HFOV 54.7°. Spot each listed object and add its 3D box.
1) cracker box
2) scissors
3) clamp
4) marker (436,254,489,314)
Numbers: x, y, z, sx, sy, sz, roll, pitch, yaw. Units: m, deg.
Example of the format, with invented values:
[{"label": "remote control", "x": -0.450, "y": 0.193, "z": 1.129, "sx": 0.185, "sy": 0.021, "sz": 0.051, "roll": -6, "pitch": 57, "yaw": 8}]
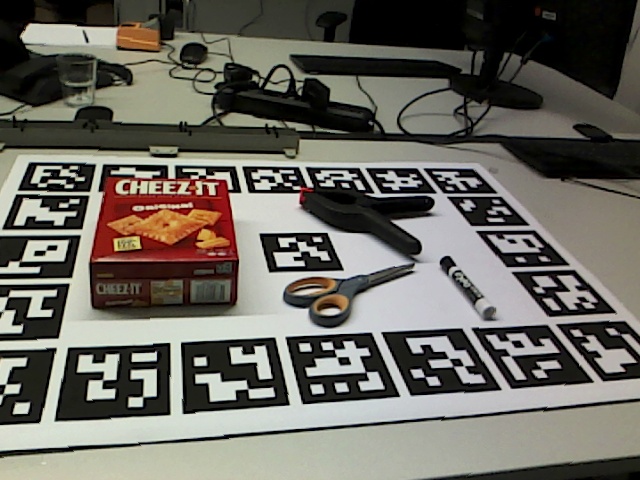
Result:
[{"label": "cracker box", "x": -0.194, "y": -0.004, "z": 0.796, "sx": 0.164, "sy": 0.072, "sz": 0.214, "roll": 0, "pitch": 31, "yaw": -12}, {"label": "scissors", "x": 0.046, "y": 0.055, "z": 0.792, "sx": 0.201, "sy": 0.016, "sz": 0.088, "roll": -17, "pitch": 36, "yaw": -39}, {"label": "clamp", "x": 0.055, "y": -0.037, "z": 0.964, "sx": 0.203, "sy": 0.036, "sz": 0.165, "roll": 15, "pitch": 30, "yaw": 13}, {"label": "marker", "x": 0.186, "y": 0.055, "z": 0.820, "sx": 0.019, "sy": 0.019, "sz": 0.122, "roll": -3, "pitch": 31, "yaw": -16}]
